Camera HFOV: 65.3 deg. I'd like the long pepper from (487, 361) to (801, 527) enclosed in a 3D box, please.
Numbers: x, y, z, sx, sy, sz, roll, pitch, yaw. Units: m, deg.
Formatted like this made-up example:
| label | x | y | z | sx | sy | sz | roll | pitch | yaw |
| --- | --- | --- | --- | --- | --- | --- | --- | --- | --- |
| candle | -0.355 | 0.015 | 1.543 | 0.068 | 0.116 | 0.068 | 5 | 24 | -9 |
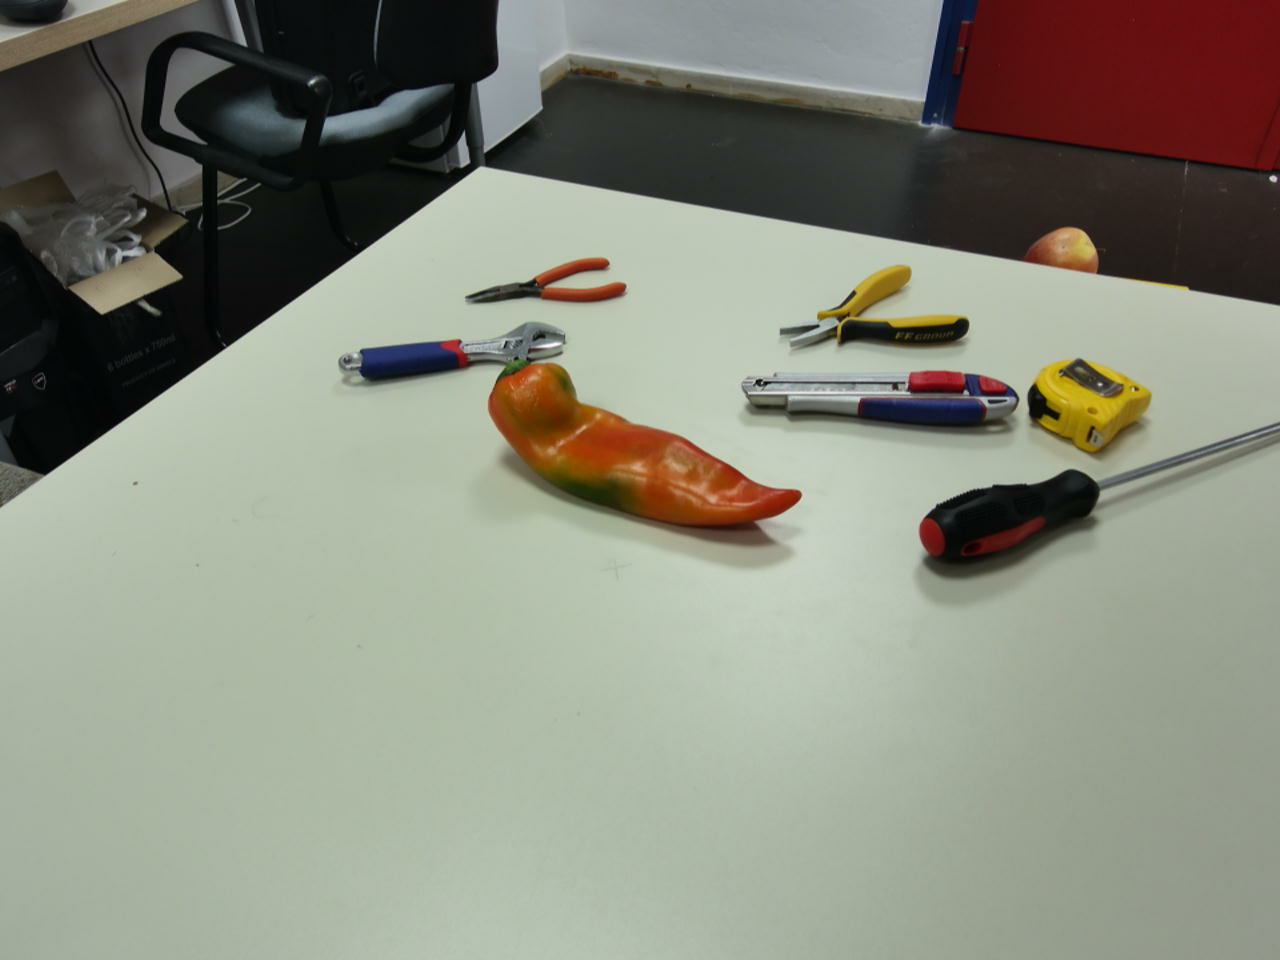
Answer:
| label | x | y | z | sx | sy | sz | roll | pitch | yaw |
| --- | --- | --- | --- | --- | --- | --- | --- | --- | --- |
| long pepper | -0.002 | -0.020 | 0.587 | 0.199 | 0.065 | 0.066 | 19 | 43 | 23 |
